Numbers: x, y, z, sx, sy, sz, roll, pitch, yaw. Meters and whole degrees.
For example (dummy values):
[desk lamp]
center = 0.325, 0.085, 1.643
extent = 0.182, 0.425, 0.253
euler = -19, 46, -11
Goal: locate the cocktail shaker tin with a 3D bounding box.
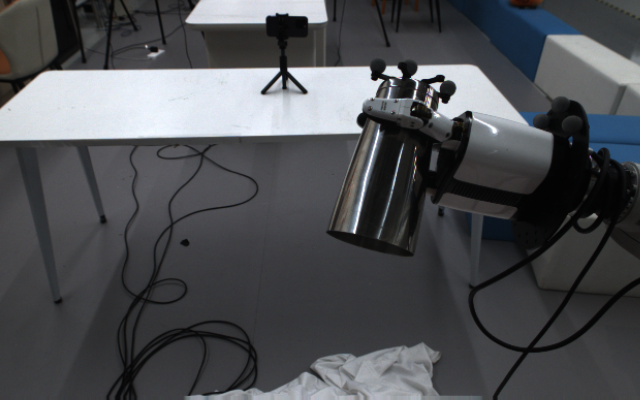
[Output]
[cocktail shaker tin]
center = 0.077, -0.038, 0.506
extent = 0.093, 0.093, 0.170
euler = 13, 79, 15
